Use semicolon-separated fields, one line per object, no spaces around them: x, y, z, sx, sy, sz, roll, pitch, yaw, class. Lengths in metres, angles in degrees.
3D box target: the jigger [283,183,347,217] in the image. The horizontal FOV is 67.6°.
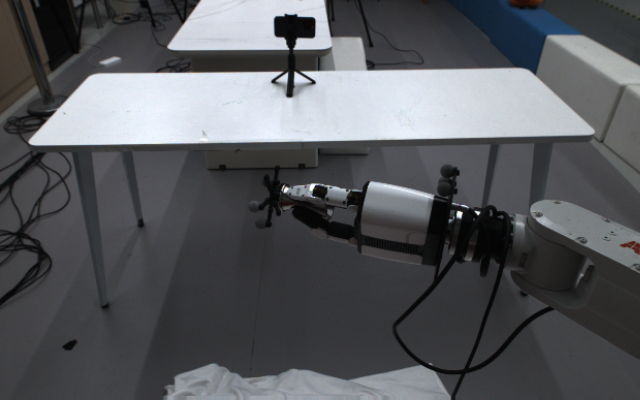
-0.011;-0.003;0.661;0.071;0.043;0.043;8;35;15;jigger
